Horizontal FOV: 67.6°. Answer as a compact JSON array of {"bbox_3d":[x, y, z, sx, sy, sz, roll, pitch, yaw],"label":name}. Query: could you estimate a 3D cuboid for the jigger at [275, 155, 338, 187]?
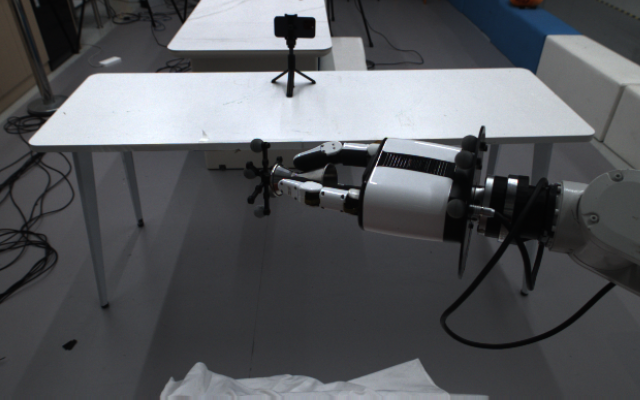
[{"bbox_3d":[-0.012,-0.025,0.567,0.071,0.043,0.043,3,33,23],"label":"jigger"}]
